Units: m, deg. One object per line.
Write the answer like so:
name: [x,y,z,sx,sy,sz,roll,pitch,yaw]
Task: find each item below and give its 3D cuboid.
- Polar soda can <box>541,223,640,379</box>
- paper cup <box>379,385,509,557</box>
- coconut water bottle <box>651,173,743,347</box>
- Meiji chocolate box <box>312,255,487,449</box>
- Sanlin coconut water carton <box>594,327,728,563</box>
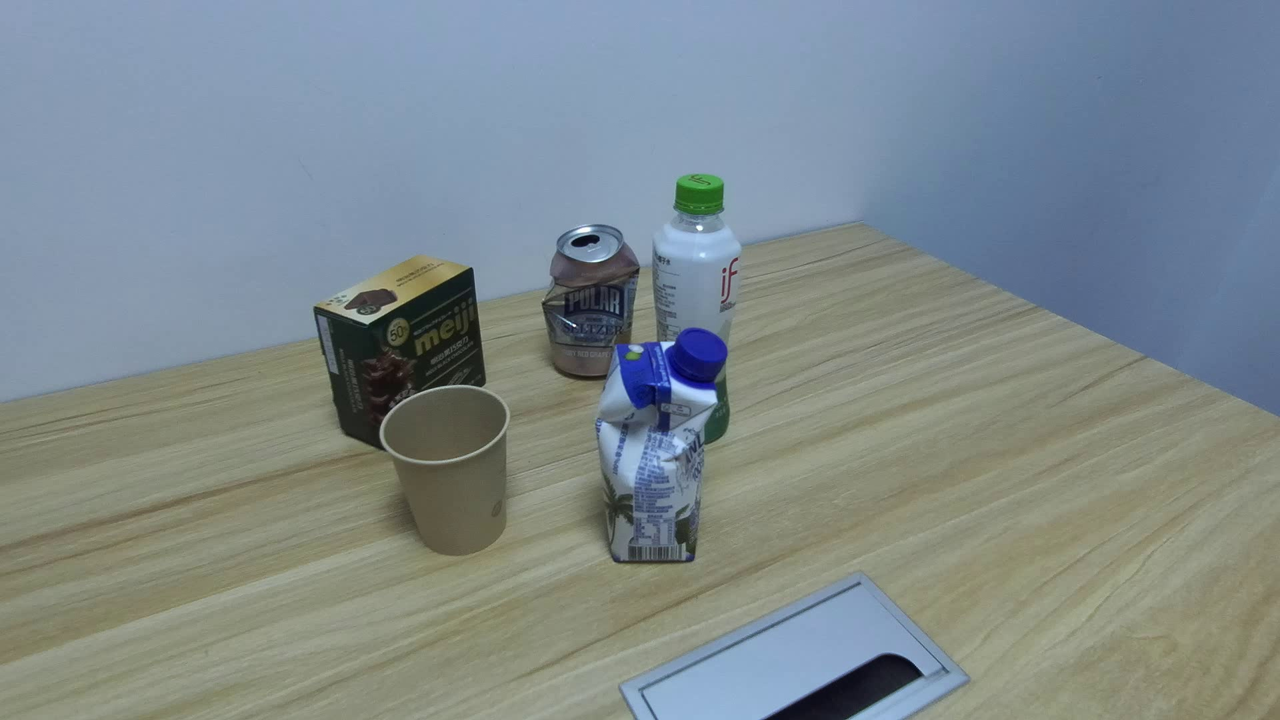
Polar soda can: [-0.041,-0.044,0.586,0.071,0.122,0.066,-22,42,-33]
paper cup: [-0.113,0.071,0.434,0.075,0.082,0.075,1,32,0]
coconut water bottle: [0.038,-0.032,0.495,0.063,0.189,0.063,1,31,0]
Meiji chocolate box: [-0.176,-0.007,0.535,0.056,0.109,0.110,15,34,23]
Sanlin coconut water carton: [0.010,0.050,0.408,0.070,0.144,0.060,1,32,-2]
